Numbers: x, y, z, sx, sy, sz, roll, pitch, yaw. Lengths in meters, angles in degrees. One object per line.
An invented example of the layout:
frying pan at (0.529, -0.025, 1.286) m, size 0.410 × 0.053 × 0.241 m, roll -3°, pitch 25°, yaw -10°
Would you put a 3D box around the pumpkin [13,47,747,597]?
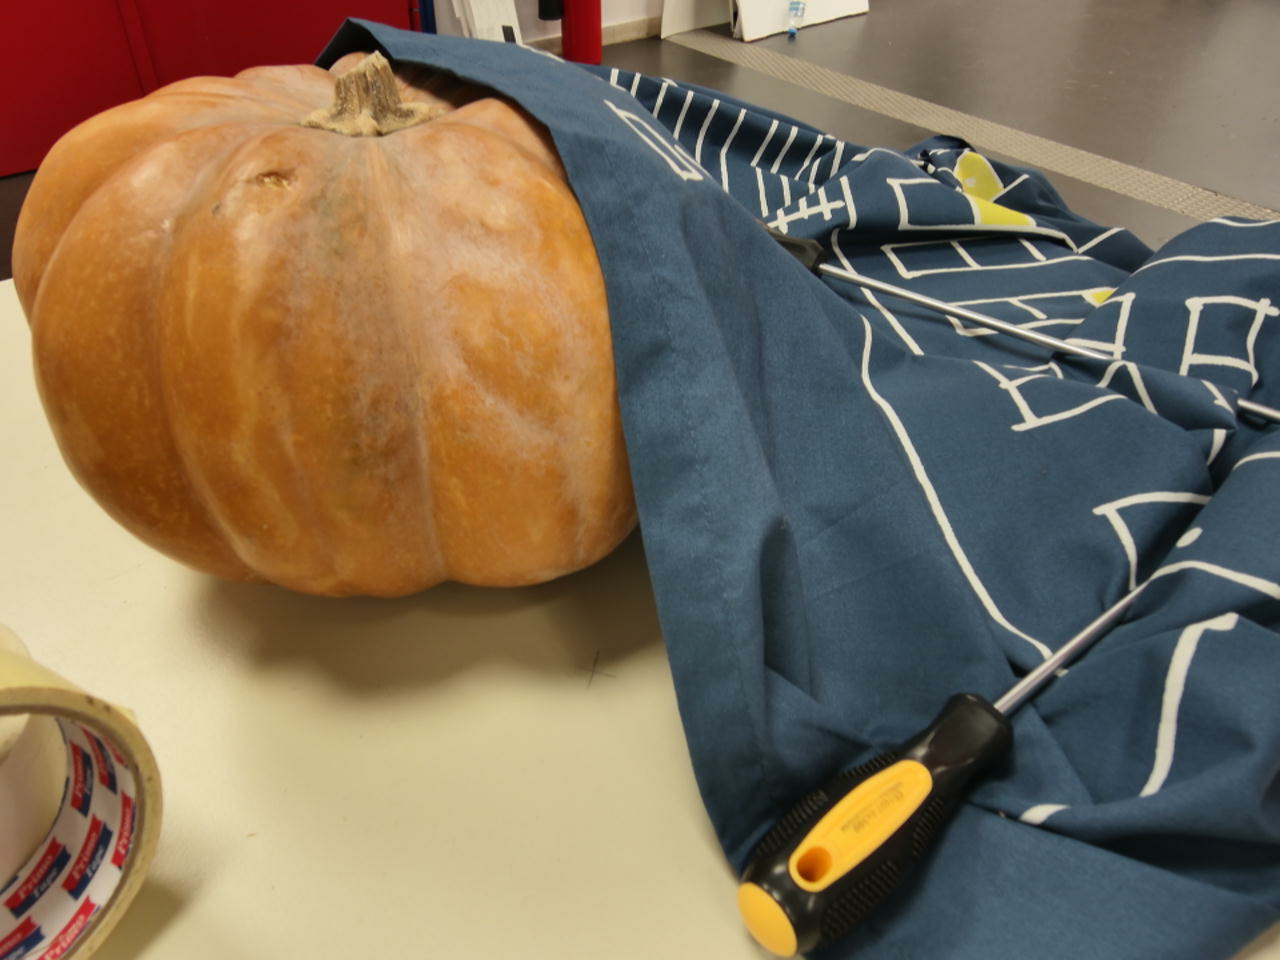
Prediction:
pumpkin at (-0.092, -0.067, 0.390) m, size 0.277 × 0.181 × 0.277 m, roll 0°, pitch 37°, yaw 0°
